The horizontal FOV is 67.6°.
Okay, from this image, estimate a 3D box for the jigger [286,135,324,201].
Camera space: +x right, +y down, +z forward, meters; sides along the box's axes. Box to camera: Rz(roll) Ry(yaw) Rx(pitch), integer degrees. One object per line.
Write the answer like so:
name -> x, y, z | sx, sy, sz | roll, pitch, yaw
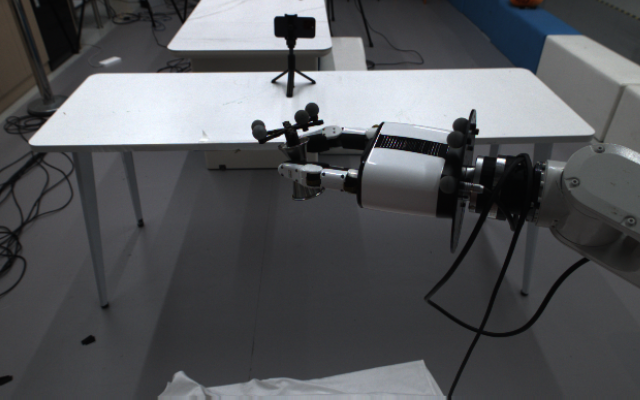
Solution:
jigger -> -0.022, -0.039, 0.599 | 0.043, 0.071, 0.043 | -14, 21, 6
